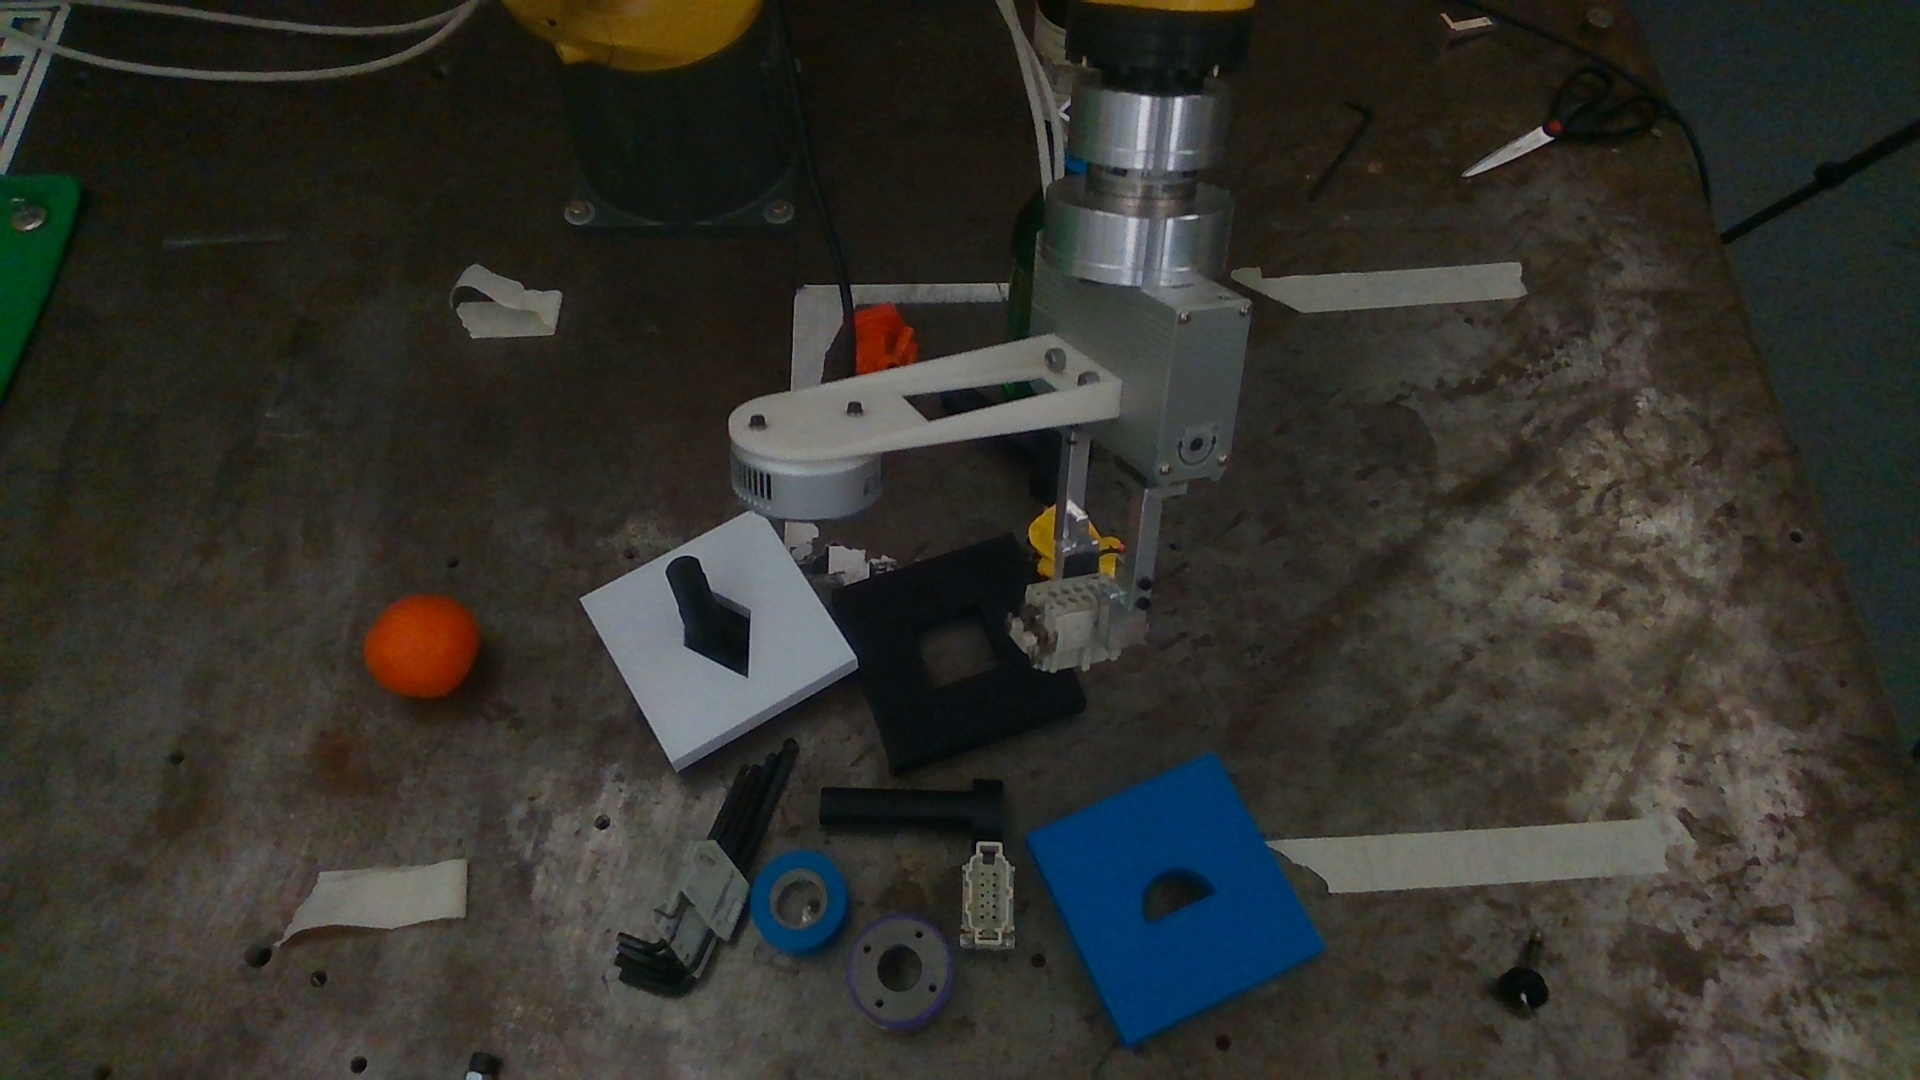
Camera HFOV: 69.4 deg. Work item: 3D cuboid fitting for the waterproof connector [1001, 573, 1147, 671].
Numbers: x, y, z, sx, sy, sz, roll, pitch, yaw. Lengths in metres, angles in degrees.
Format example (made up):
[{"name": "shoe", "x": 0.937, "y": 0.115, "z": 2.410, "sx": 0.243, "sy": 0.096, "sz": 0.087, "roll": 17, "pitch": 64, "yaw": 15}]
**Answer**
[{"name": "waterproof connector", "x": 0.057, "y": 0.042, "z": 0.681, "sx": 0.069, "sy": 0.038, "sz": 0.037, "roll": -5, "pitch": 25, "yaw": -28}]
